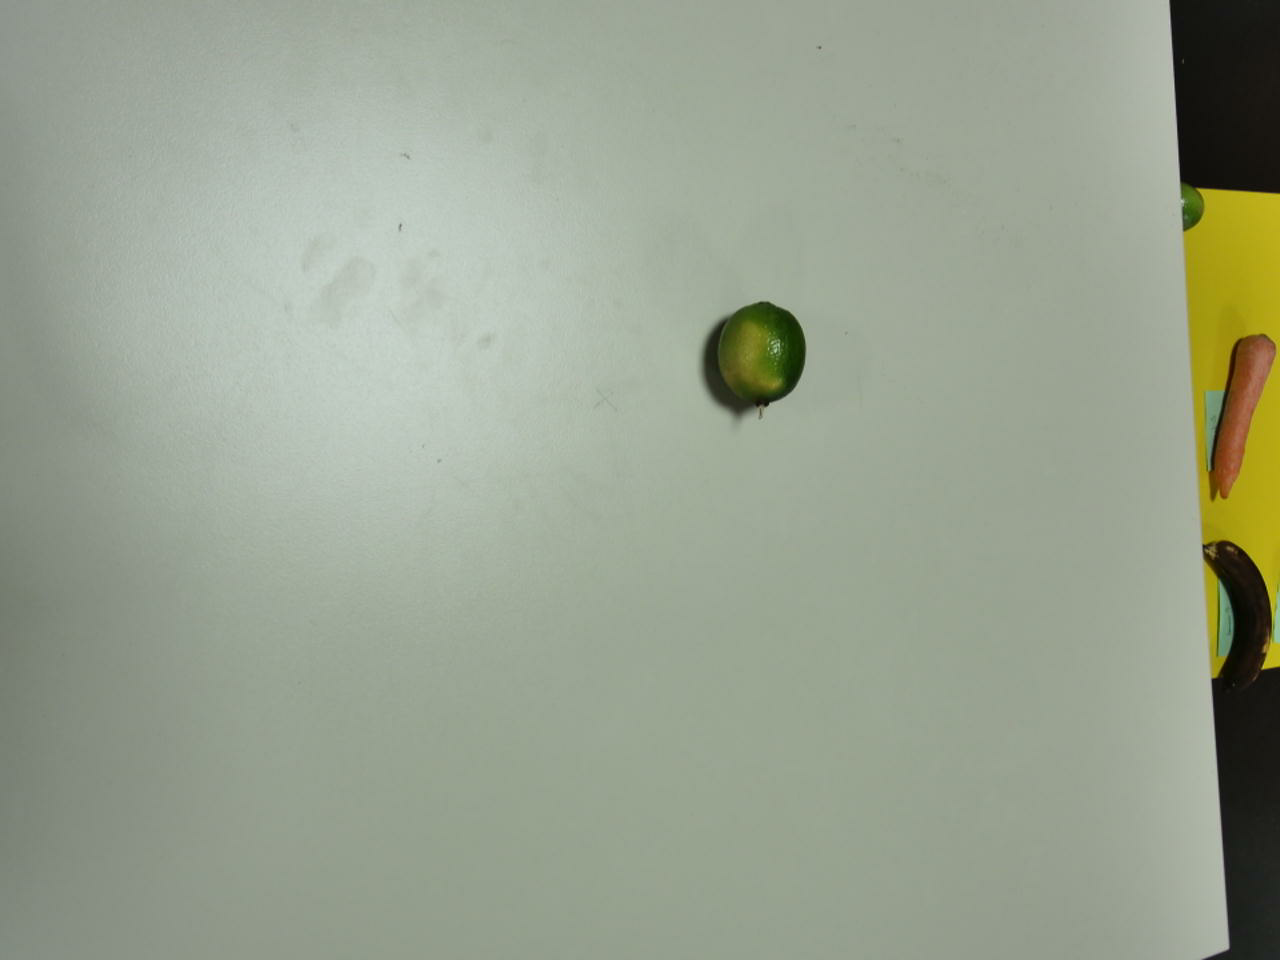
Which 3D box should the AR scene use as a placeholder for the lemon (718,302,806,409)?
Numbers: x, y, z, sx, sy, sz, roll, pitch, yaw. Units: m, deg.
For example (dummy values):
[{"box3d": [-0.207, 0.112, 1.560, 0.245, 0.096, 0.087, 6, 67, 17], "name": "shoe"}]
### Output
[{"box3d": [0.070, -0.073, 0.579, 0.055, 0.050, 0.054, -47, 107, -15], "name": "lemon"}]
